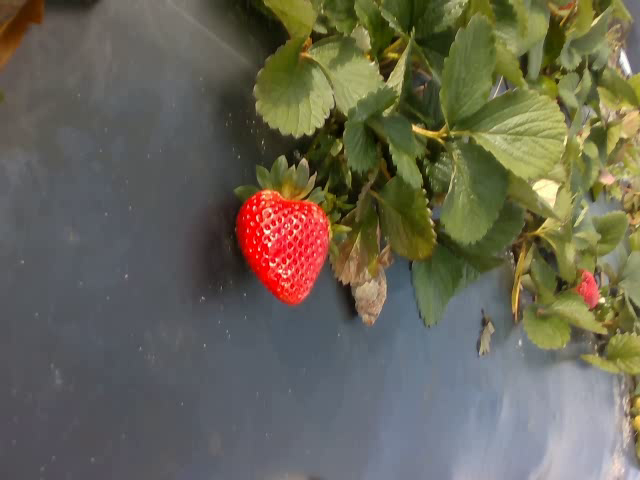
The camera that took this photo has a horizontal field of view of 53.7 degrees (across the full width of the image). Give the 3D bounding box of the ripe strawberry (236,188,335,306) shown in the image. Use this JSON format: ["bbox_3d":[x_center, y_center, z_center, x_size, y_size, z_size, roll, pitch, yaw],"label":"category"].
[{"bbox_3d":[-0.014,0.004,0.258,0.050,0.058,0.046,-19,-35,19],"label":"ripe strawberry"}]
